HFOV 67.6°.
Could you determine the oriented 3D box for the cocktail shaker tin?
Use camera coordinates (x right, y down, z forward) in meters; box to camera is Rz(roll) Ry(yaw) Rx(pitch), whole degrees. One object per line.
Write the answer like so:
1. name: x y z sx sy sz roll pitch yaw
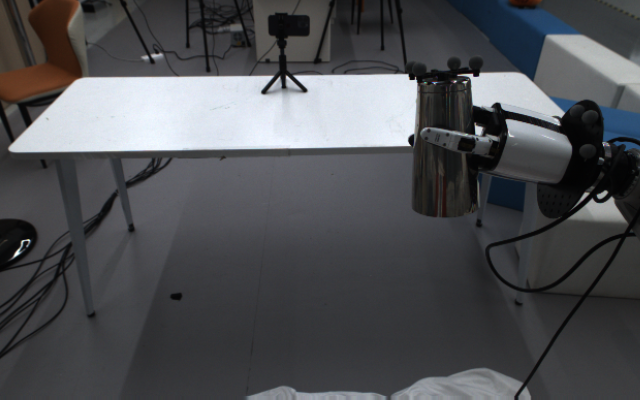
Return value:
1. cocktail shaker tin: 0.165 -0.073 0.641 0.093 0.170 0.093 -6 19 2
